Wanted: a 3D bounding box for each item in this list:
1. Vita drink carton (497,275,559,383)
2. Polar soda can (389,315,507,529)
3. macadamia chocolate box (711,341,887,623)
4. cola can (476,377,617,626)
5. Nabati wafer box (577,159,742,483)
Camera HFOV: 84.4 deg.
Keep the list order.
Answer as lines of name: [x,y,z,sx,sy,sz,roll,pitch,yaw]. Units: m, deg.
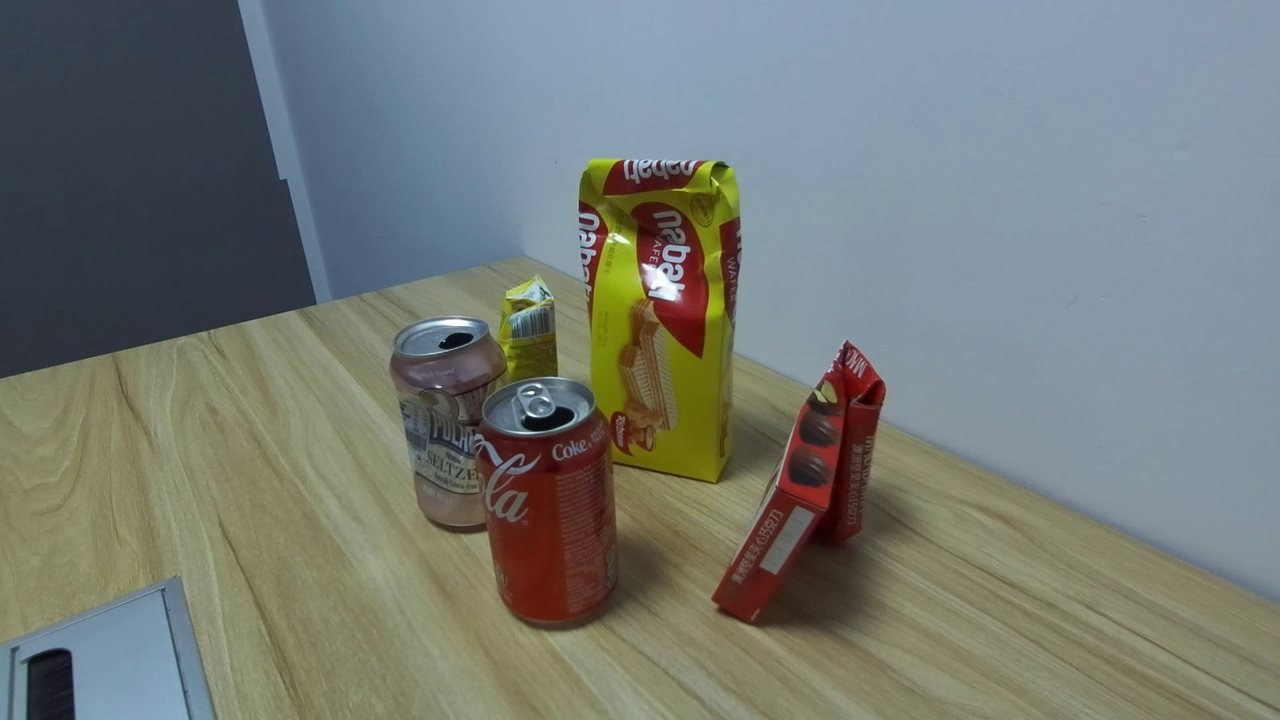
Vita drink carton: [-0.087,-0.002,0.524,0.046,0.110,0.071,-9,26,-17]
Polar soda can: [-0.112,0.040,0.436,0.067,0.122,0.074,-10,25,-13]
macadamia chocolate box: [0.087,0.064,0.375,0.056,0.112,0.127,15,30,27]
cola can: [-0.046,0.071,0.364,0.068,0.120,0.068,-1,27,1]
Nabati wafer box: [0.013,-0.023,0.452,0.113,0.205,0.043,7,26,22]
